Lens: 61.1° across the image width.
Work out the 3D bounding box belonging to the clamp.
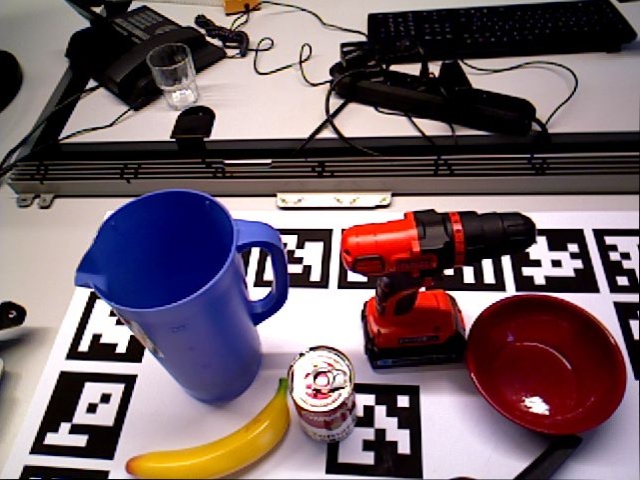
[{"bbox_3d":[0.151,0.177,0.549,0.202,0.037,0.163,-4,57,4],"label":"clamp"}]

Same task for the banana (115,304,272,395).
[{"bbox_3d":[-0.136,0.136,0.626,0.195,0.039,0.073,-21,45,-11],"label":"banana"}]

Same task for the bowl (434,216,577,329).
[{"bbox_3d":[0.213,0.048,0.632,0.161,0.056,0.159,-4,55,5],"label":"bowl"}]

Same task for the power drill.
[{"bbox_3d":[0.100,-0.046,0.610,0.184,0.190,0.056,-5,53,2],"label":"power drill"}]

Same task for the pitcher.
[{"bbox_3d":[-0.138,-0.017,0.608,0.187,0.247,0.132,-21,50,-9],"label":"pitcher"}]

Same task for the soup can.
[{"bbox_3d":[-0.015,0.073,0.616,0.068,0.104,0.067,-4,44,3],"label":"soup can"}]
